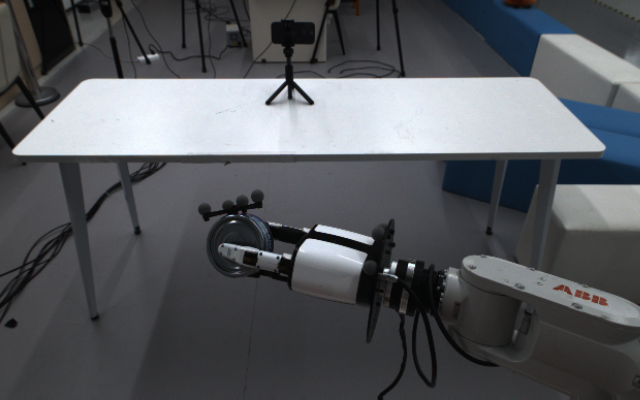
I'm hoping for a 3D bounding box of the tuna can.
[{"bbox_3d":[-0.104,0.067,0.646,0.085,0.085,0.034,12,3,14],"label":"tuna can"}]
